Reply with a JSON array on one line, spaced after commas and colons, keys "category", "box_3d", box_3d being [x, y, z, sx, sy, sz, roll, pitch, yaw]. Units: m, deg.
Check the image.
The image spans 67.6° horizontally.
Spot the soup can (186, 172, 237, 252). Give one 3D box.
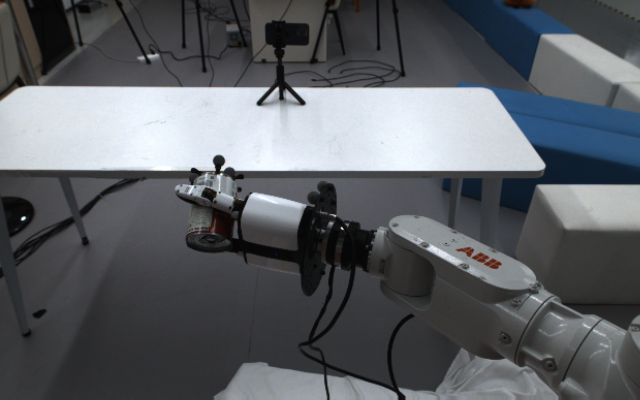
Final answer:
[{"category": "soup can", "box_3d": [-0.157, 0.019, 0.710, 0.067, 0.067, 0.101, 0, 61, -2]}]
